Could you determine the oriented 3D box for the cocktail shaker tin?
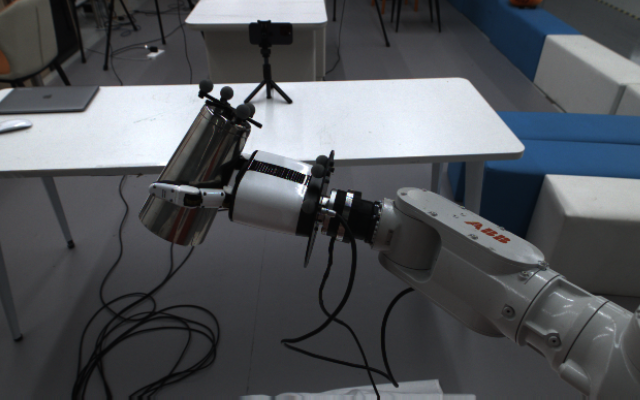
[{"bbox_3d":[-0.156,-0.038,0.629,0.093,0.170,0.093,28,14,-8],"label":"cocktail shaker tin"}]
